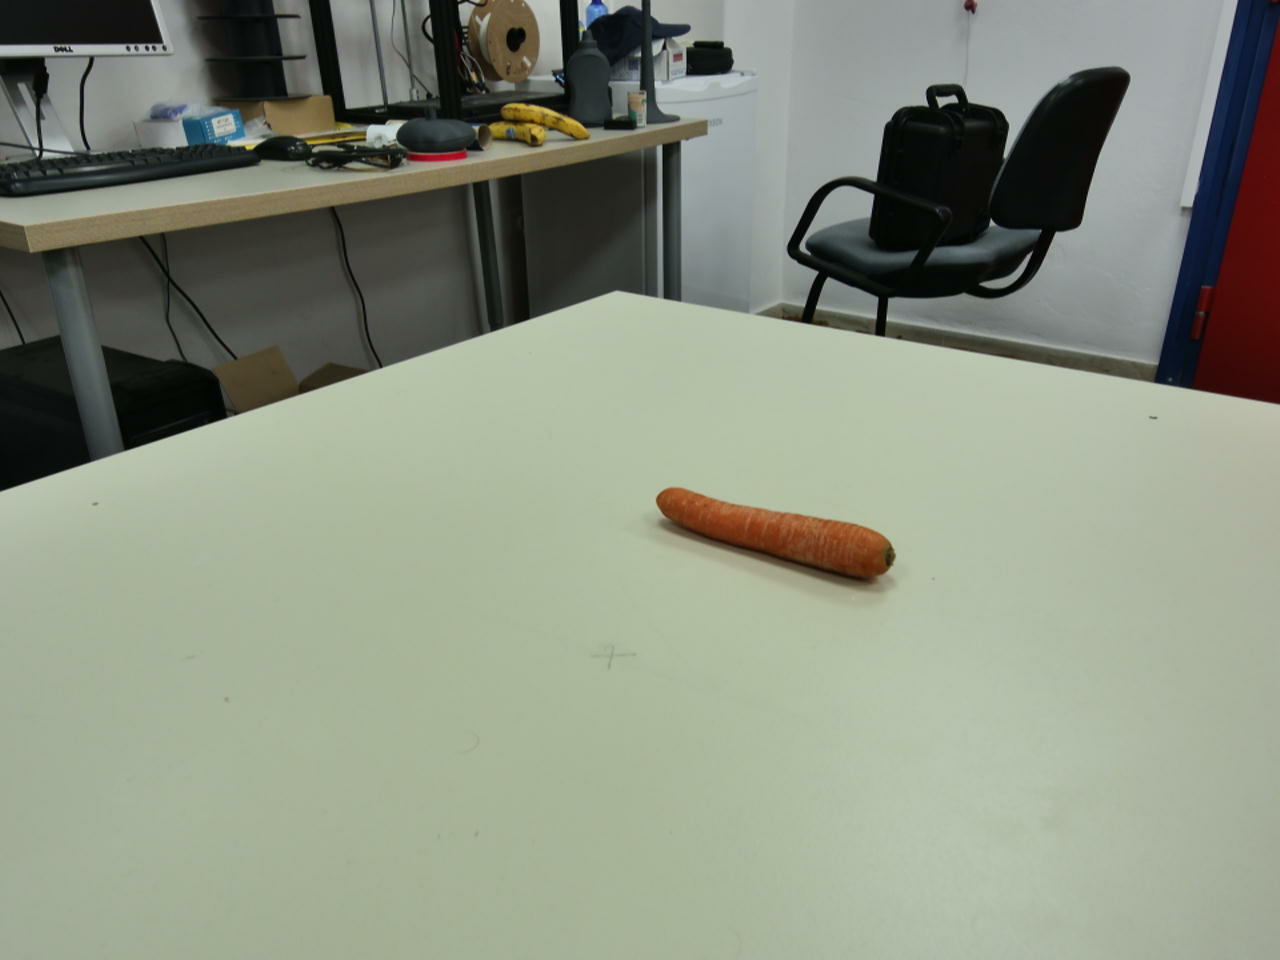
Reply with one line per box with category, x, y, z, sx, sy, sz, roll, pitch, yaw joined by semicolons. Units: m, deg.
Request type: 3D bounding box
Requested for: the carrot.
carrot;0.060;0.022;0.466;0.122;0.023;0.024;16;27;32
